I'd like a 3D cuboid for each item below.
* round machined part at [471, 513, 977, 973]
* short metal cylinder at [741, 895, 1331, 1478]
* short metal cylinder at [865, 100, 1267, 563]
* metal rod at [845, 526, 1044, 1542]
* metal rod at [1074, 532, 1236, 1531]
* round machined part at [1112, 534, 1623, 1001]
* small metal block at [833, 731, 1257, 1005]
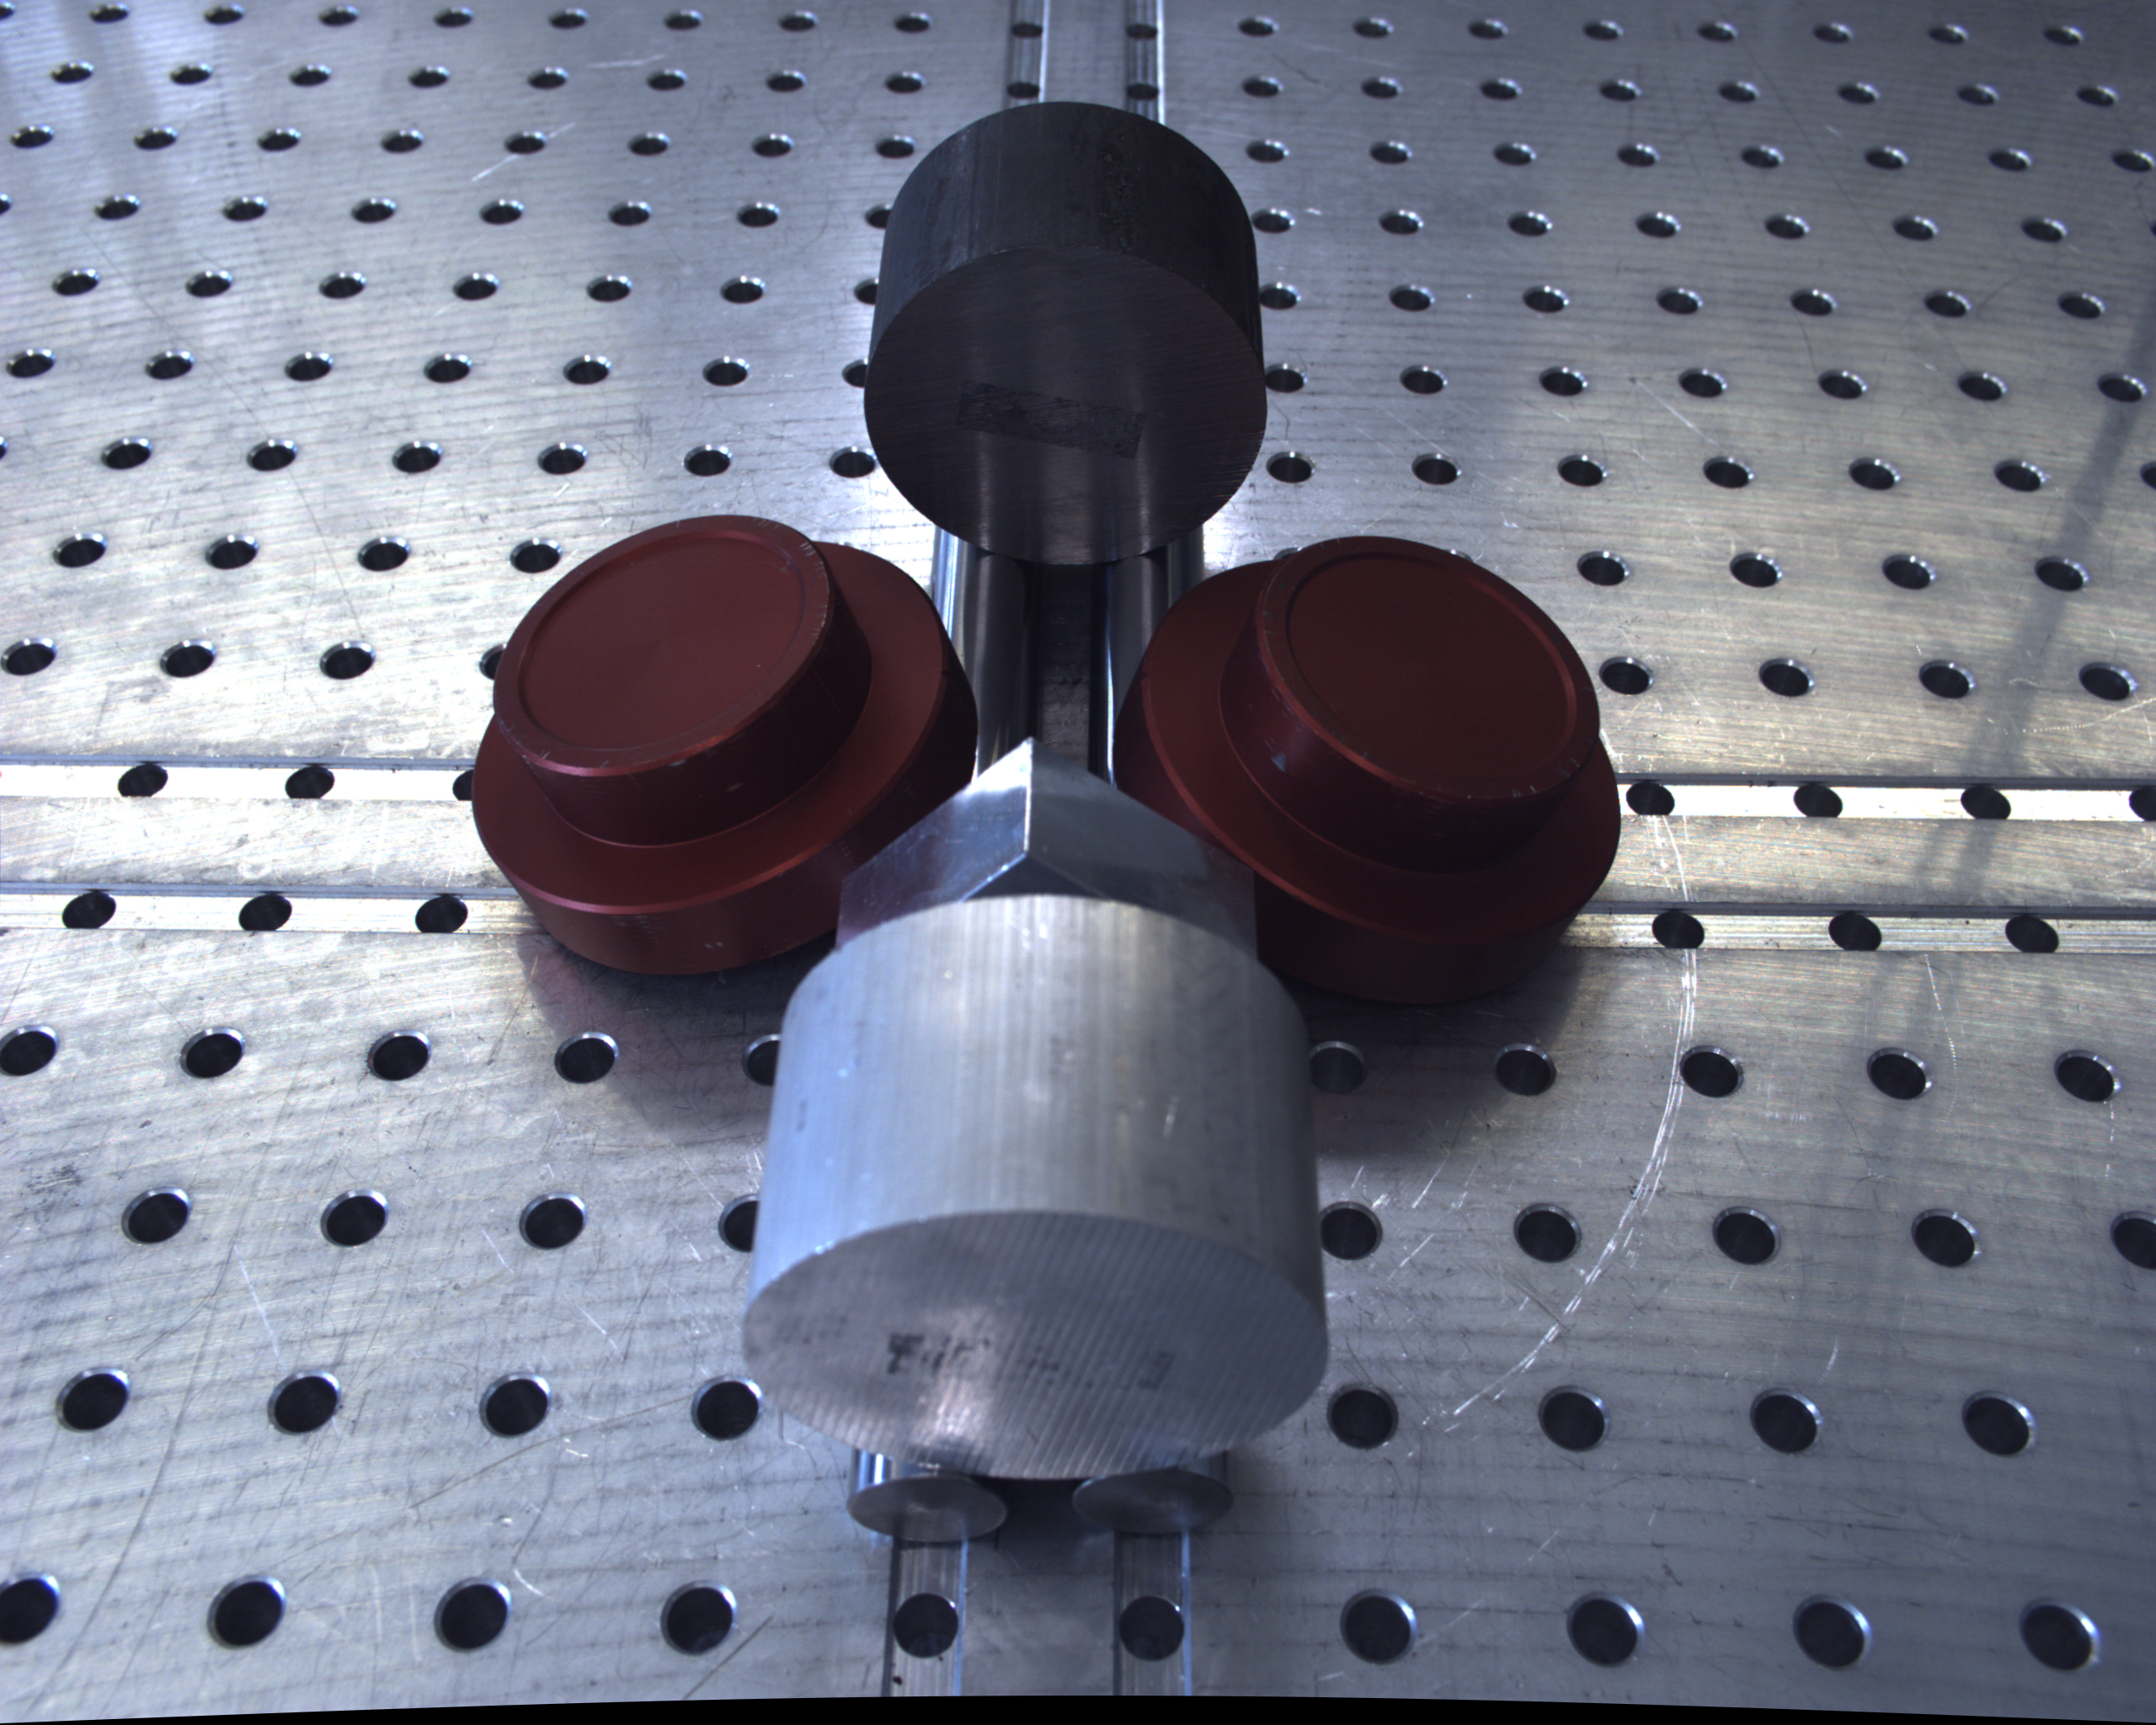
[{"bbox_3d":[-0.072,-0.030,0.405,0.098,0.042,0.098,-9,49,11],"label":"round machined part"},{"bbox_3d":[-0.005,0.049,0.302,0.080,0.080,0.050,1,50,0],"label":"short metal cylinder"},{"bbox_3d":[-0.002,-0.109,0.435,0.080,0.080,0.050,1,50,0],"label":"short metal cylinder"},{"bbox_3d":[-0.021,-0.015,0.419,0.025,0.025,0.300,1,50,1],"label":"metal rod"},{"bbox_3d":[0.014,-0.016,0.420,0.025,0.025,0.300,1,50,1],"label":"metal rod"},{"bbox_3d":[0.059,-0.025,0.400,0.099,0.042,0.098,10,49,-11],"label":"round machined part"},{"bbox_3d":[-0.006,0.011,0.351,0.050,0.050,0.025,30,42,-30],"label":"small metal block"}]
